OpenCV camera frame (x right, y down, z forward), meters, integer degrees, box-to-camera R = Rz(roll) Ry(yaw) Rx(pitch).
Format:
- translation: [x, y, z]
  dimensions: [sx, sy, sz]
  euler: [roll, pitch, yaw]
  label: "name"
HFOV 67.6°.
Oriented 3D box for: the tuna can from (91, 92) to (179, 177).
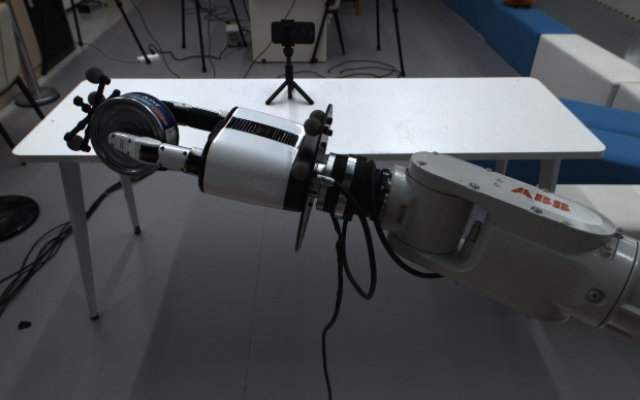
- translation: [-0.195, -0.070, 0.513]
  dimensions: [0.085, 0.085, 0.034]
  euler: [6, 20, 5]
  label: "tuna can"
